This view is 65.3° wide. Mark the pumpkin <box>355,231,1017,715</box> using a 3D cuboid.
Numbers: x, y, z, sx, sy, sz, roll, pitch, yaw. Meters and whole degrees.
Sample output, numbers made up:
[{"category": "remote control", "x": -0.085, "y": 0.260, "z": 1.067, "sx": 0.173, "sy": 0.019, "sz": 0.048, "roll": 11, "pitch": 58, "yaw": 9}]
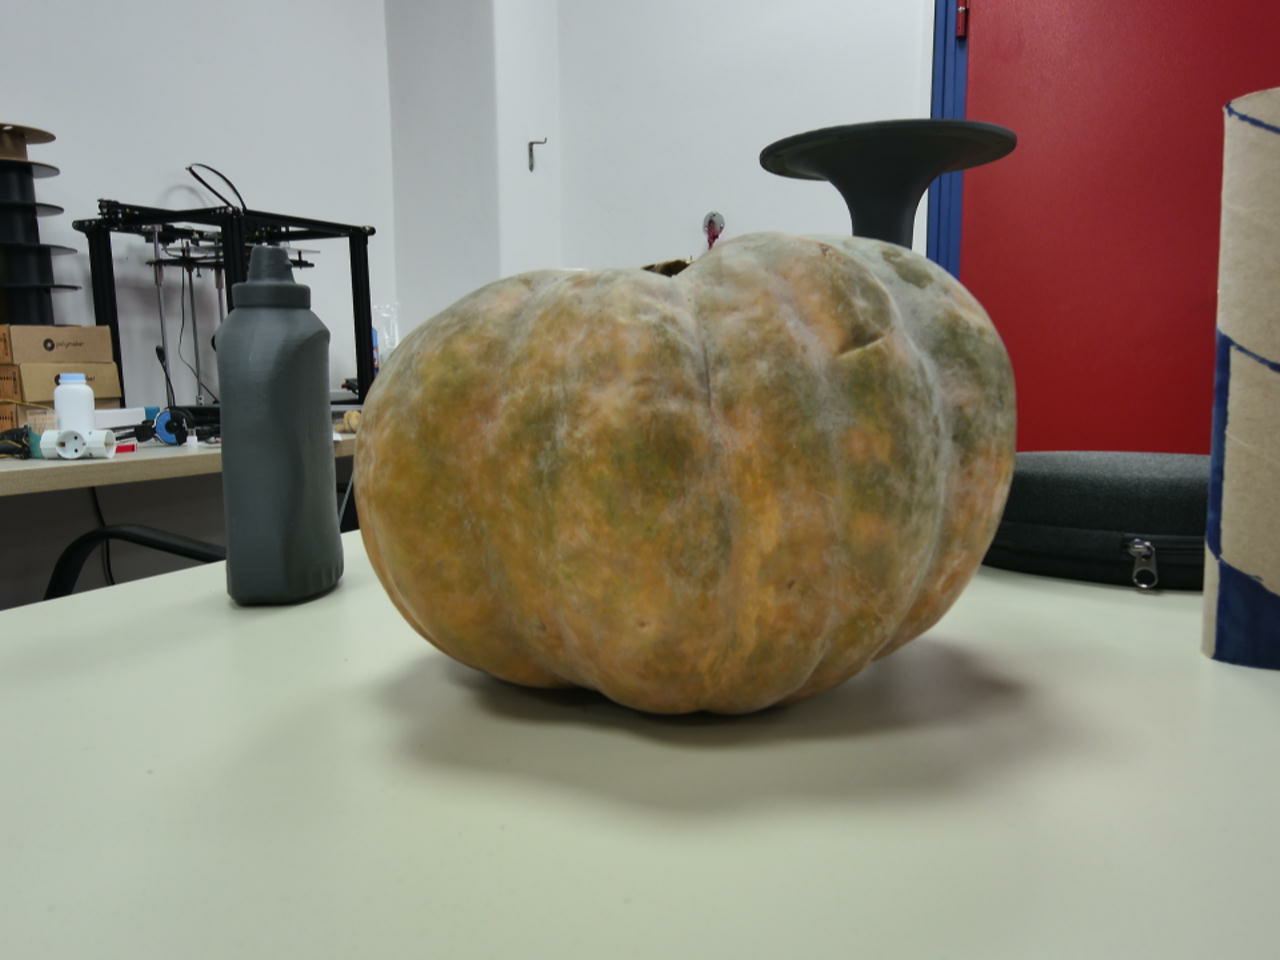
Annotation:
[{"category": "pumpkin", "x": 0.011, "y": -0.005, "z": 0.397, "sx": 0.252, "sy": 0.168, "sz": 0.252, "roll": 0, "pitch": 4, "yaw": 0}]
